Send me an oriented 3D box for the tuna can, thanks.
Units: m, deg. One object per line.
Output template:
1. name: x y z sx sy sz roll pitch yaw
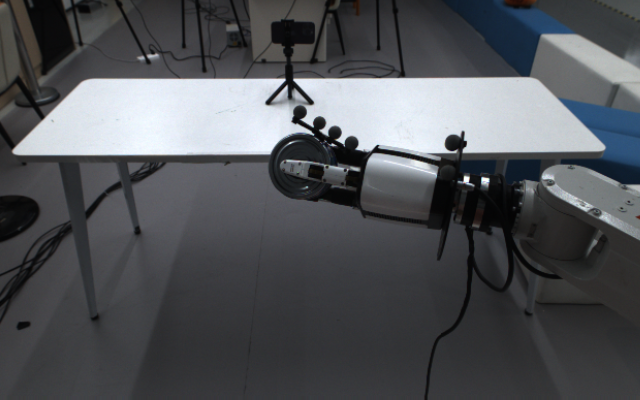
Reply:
1. tuna can: -0.021 -0.044 0.626 0.085 0.085 0.034 12 4 15
